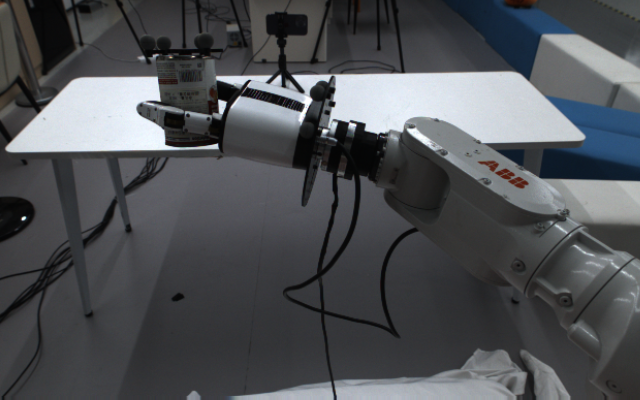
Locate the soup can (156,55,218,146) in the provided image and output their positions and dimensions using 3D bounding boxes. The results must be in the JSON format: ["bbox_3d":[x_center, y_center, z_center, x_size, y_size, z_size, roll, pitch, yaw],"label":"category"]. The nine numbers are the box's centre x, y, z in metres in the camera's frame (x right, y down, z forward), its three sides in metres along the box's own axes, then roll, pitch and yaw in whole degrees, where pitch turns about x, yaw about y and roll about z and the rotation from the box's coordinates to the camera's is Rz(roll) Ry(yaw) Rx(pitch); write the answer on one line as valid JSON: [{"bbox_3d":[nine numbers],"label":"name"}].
[{"bbox_3d":[-0.154,-0.117,0.573,0.067,0.101,0.067,-1,17,0],"label":"soup can"}]
